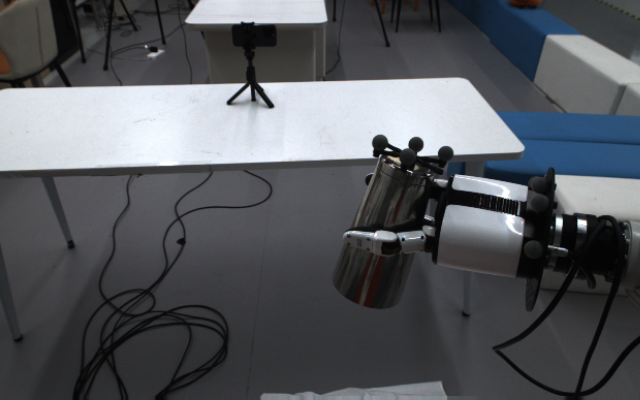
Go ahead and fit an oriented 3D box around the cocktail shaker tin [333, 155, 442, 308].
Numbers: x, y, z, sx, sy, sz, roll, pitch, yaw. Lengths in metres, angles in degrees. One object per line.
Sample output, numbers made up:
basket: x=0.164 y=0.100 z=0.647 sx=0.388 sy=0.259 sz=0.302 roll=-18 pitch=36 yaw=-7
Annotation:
cocktail shaker tin: x=0.082 y=0.032 z=0.581 sx=0.093 sy=0.170 sz=0.093 roll=12 pitch=24 yaw=-5
